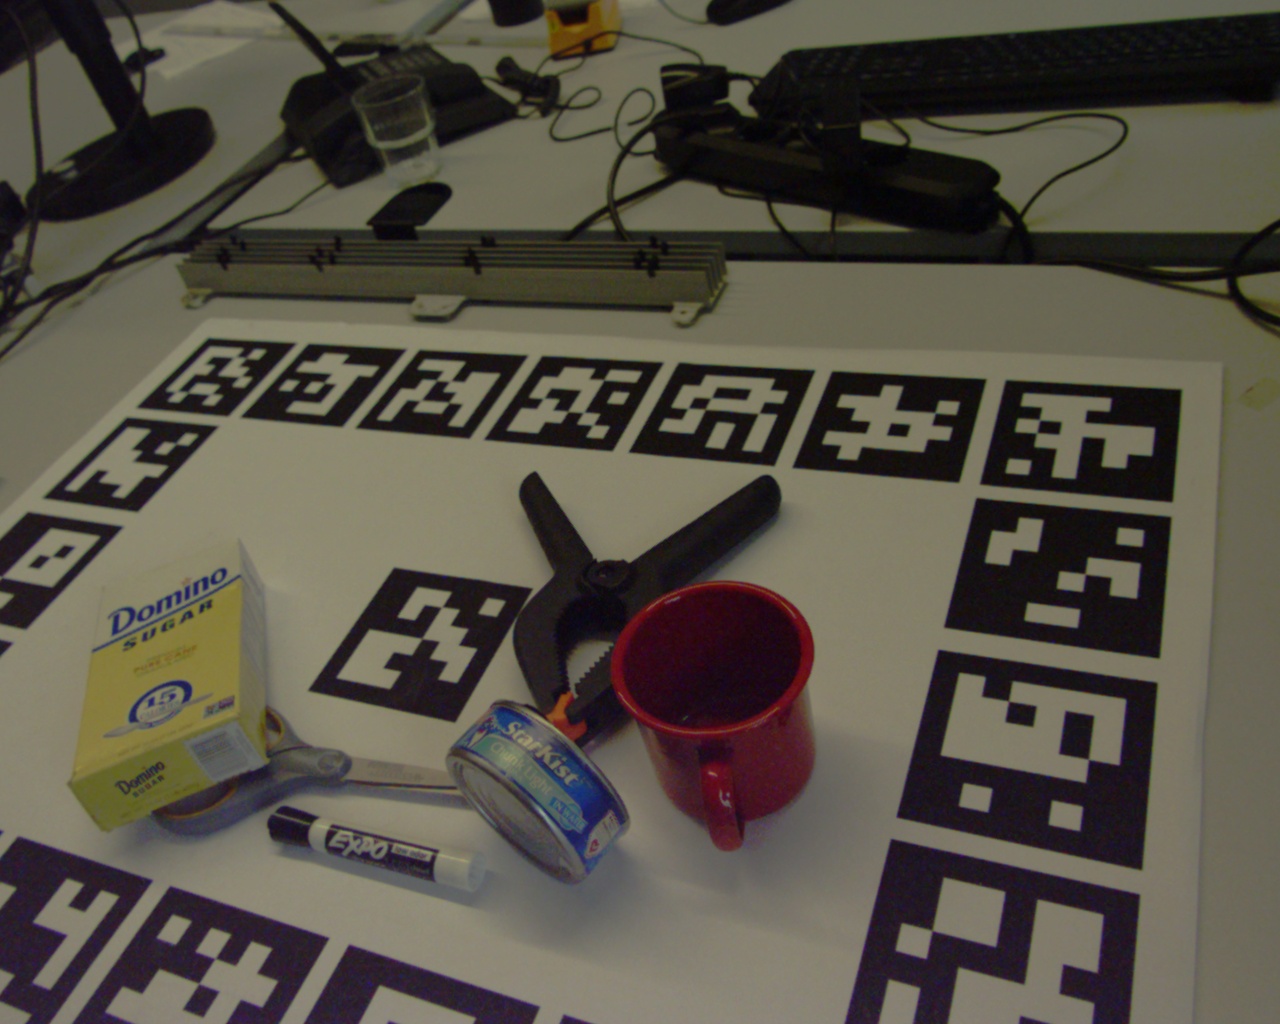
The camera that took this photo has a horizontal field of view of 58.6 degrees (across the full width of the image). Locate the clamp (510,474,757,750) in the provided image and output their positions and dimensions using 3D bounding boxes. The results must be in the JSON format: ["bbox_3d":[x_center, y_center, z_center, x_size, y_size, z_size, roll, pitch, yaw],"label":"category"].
[{"bbox_3d":[-0.021,0.054,0.682,0.167,0.036,0.203,-2,45,16],"label":"clamp"}]

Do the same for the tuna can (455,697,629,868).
[{"bbox_3d":[-0.049,0.133,0.556,0.087,0.085,0.033,21,53,35],"label":"tuna can"}]

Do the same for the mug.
[{"bbox_3d":[0.025,0.105,0.568,0.093,0.081,0.118,-13,39,3],"label":"mug"}]

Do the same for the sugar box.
[{"bbox_3d":[-0.270,0.096,0.689,0.093,0.045,0.178,-20,36,-4],"label":"sugar box"}]

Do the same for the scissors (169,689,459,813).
[{"bbox_3d":[-0.176,0.134,0.641,0.204,0.016,0.087,-1,41,15],"label":"scissors"}]

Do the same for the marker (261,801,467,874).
[{"bbox_3d":[-0.148,0.169,0.598,0.122,0.019,0.019,3,46,22],"label":"marker"}]
